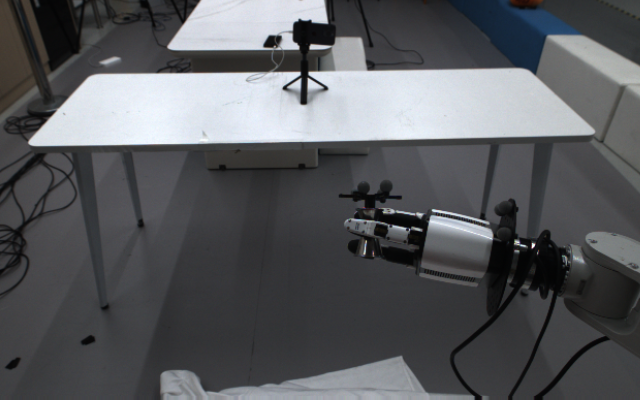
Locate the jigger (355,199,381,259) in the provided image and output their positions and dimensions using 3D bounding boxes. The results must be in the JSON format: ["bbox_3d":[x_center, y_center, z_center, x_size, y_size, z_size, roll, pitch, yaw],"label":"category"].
[{"bbox_3d":[0.070,0.045,0.685,0.043,0.071,0.043,1,-6,0],"label":"jigger"}]
